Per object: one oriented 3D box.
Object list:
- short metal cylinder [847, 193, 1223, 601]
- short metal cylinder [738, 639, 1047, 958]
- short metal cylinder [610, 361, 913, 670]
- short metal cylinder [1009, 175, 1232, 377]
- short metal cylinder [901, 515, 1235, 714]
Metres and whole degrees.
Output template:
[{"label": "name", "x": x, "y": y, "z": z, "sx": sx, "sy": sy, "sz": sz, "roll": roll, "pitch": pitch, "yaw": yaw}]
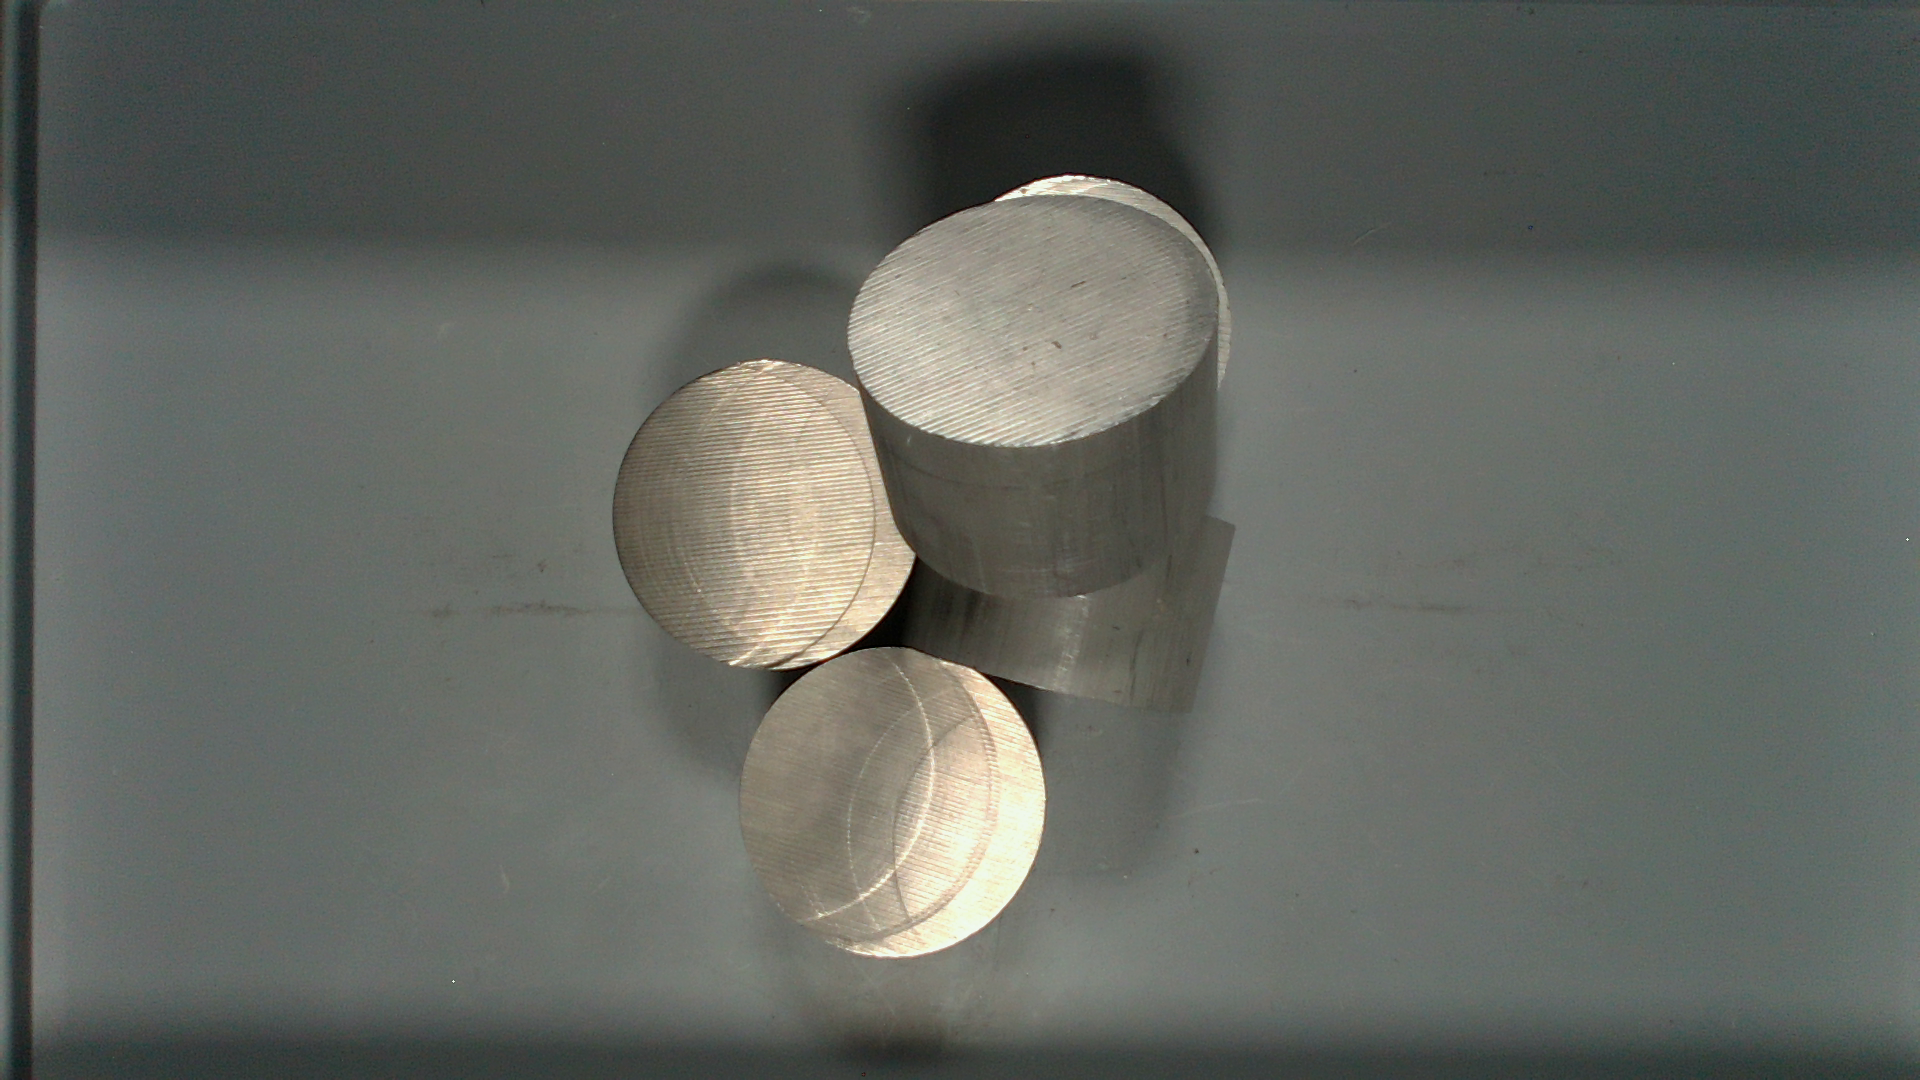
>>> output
[{"label": "short metal cylinder", "x": 0.019, "y": -0.033, "z": 0.311, "sx": 0.080, "sy": 0.050, "sz": 0.080, "roll": -4, "pitch": 50, "yaw": 6}, {"label": "short metal cylinder", "x": -0.017, "y": 0.068, "z": 0.381, "sx": 0.080, "sy": 0.050, "sz": 0.080, "roll": 0, "pitch": 90, "yaw": 0}, {"label": "short metal cylinder", "x": -0.050, "y": -0.006, "z": 0.381, "sx": 0.080, "sy": 0.050, "sz": 0.080, "roll": 0, "pitch": 90, "yaw": 0}, {"label": "short metal cylinder", "x": 0.031, "y": -0.055, "z": 0.381, "sx": 0.080, "sy": 0.050, "sz": 0.080, "roll": 0, "pitch": 90, "yaw": 0}, {"label": "short metal cylinder", "x": 0.028, "y": 0.012, "z": 0.367, "sx": 0.080, "sy": 0.080, "sz": 0.050, "roll": 13, "pitch": 90, "yaw": 0}]
